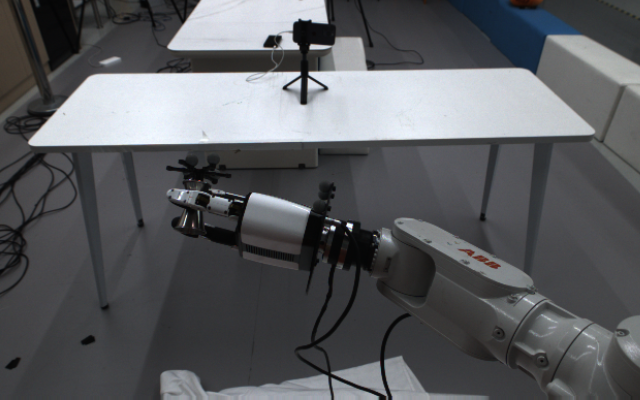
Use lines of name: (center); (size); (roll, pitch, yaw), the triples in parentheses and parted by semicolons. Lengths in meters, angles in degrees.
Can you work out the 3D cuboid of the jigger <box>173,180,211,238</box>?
jigger: (-0.175, 0.010, 0.666); (0.043, 0.043, 0.071); (4, 75, 2)
